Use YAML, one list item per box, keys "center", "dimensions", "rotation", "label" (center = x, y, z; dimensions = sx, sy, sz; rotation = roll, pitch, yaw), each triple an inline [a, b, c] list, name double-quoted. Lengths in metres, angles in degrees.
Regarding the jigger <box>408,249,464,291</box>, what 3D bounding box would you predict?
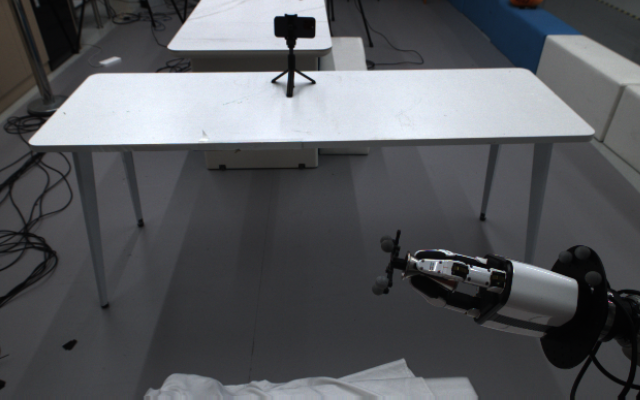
- center: [0.152, 0.090, 0.639]
  dimensions: [0.071, 0.043, 0.043]
  rotation: [13, 36, 3]
  label: "jigger"
